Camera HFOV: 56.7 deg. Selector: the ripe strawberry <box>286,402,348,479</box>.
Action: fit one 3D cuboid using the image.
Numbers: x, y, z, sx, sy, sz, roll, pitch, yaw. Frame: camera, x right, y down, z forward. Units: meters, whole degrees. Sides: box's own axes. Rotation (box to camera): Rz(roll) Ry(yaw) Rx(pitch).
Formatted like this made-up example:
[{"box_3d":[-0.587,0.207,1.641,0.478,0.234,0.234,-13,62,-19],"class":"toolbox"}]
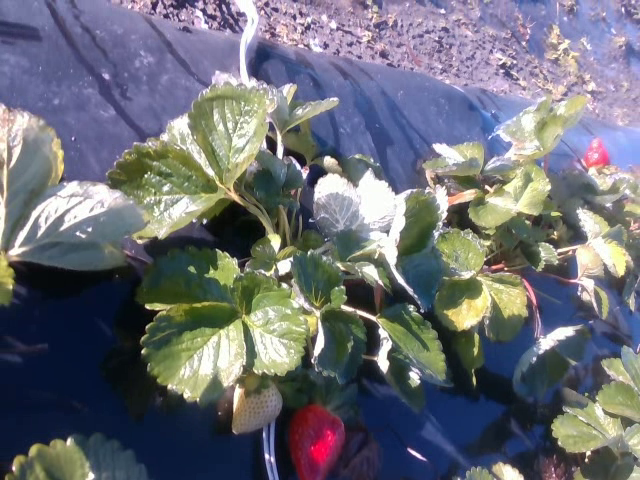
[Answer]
[{"box_3d":[0.003,0.160,0.460,0.040,0.063,0.080,-7,37,18],"class":"ripe strawberry"}]
